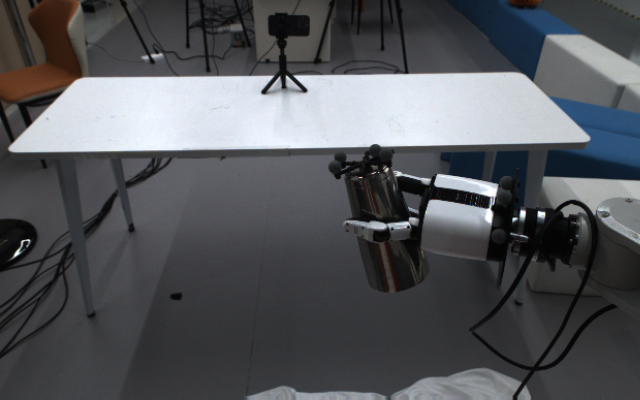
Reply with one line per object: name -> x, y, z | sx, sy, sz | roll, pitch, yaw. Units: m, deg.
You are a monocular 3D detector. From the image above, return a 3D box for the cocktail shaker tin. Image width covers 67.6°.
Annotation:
cocktail shaker tin -> 0.090, 0.032, 0.679 | 0.093, 0.170, 0.093 | -17, 20, 7
